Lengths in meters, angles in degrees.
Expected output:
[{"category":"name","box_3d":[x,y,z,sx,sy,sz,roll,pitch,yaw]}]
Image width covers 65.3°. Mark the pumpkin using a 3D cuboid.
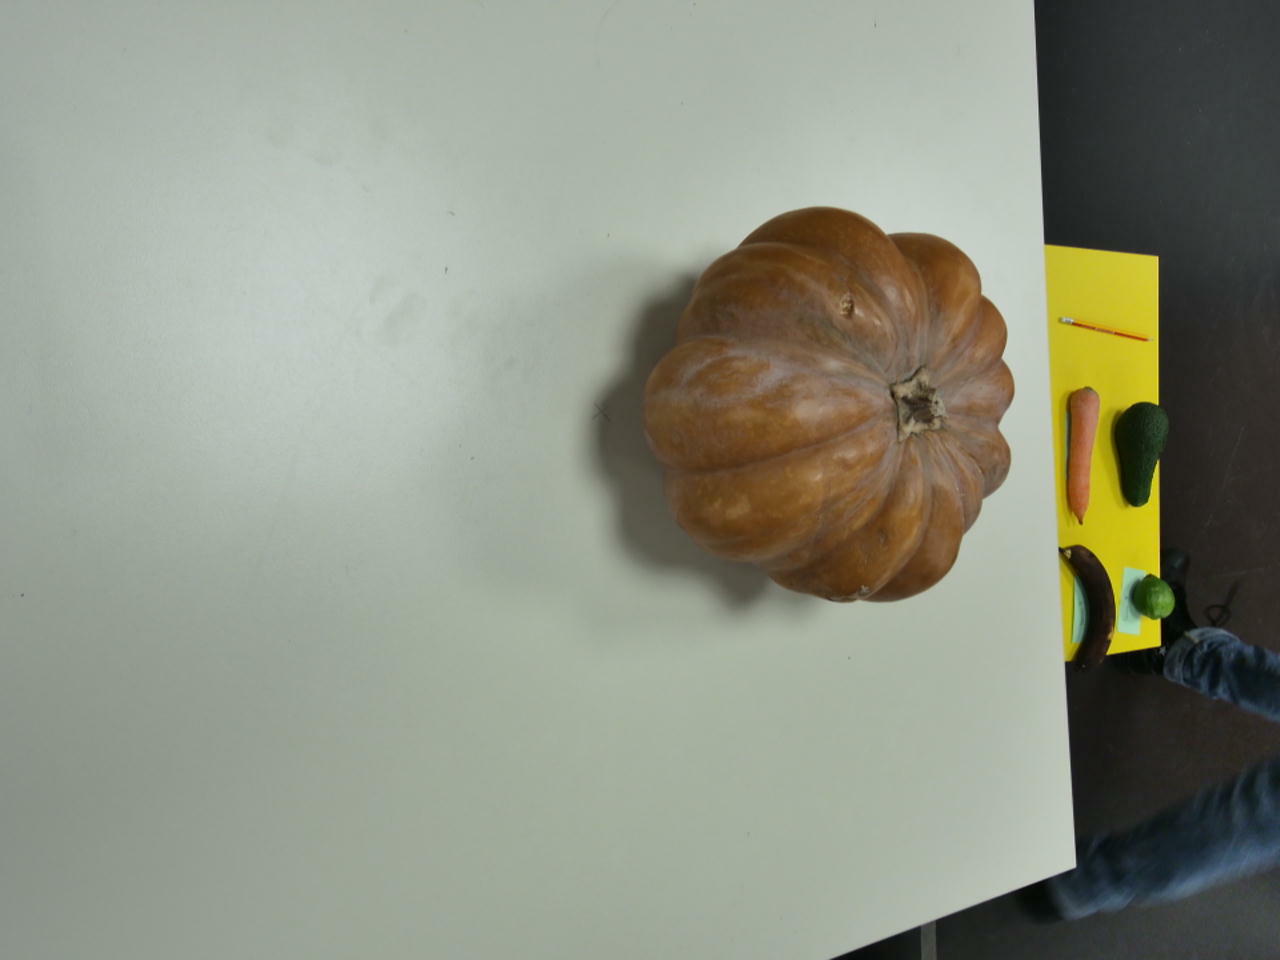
[{"category":"pumpkin","box_3d":[0.132,-0.049,0.679,0.277,0.181,0.277,-1,91,-29]}]
